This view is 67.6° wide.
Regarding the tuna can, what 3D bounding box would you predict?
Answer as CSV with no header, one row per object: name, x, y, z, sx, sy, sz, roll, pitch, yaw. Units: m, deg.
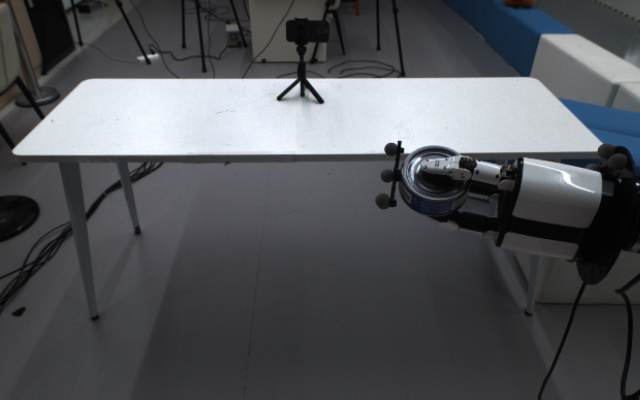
tuna can,0.143,-0.027,0.595,0.085,0.034,0.085,-2,57,2
